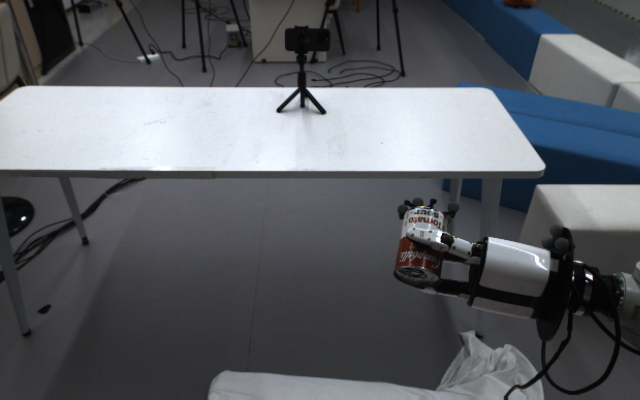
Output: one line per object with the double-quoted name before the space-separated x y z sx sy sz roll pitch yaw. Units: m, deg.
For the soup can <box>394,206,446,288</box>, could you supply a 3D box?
"soup can" 0.152 0.066 0.716 0.067 0.067 0.101 9 60 10
